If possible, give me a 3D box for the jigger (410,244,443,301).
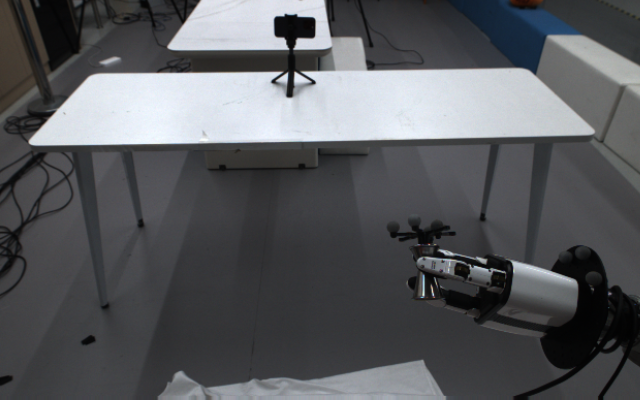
[{"bbox_3d":[0.139,0.092,0.626,0.043,0.043,0.071,0,75,-3],"label":"jigger"}]
